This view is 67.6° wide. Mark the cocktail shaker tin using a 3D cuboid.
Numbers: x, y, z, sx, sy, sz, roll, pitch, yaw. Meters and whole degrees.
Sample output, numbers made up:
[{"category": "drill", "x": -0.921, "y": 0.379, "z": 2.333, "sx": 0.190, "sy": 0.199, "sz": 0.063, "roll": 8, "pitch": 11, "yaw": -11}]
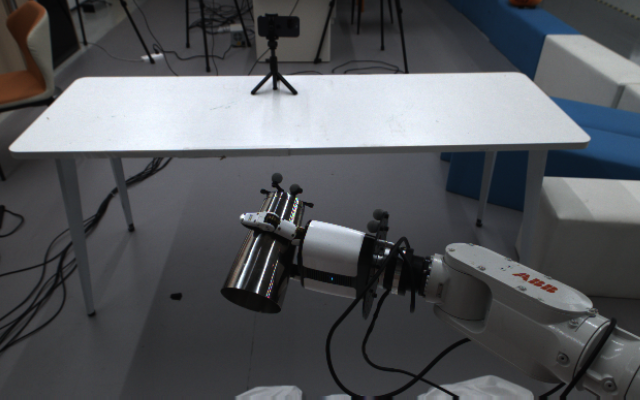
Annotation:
[{"category": "cocktail shaker tin", "x": -0.077, "y": 0.074, "z": 0.730, "sx": 0.093, "sy": 0.093, "sz": 0.170, "roll": 11, "pitch": 60, "yaw": 12}]
